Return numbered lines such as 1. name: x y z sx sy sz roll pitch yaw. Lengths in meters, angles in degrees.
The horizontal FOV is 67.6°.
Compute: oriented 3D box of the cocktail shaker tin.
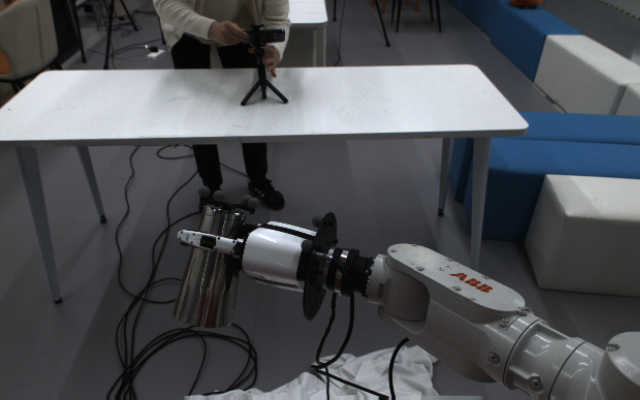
1. cocktail shaker tin: -0.159 0.095 0.740 0.093 0.170 0.093 12 2 0
